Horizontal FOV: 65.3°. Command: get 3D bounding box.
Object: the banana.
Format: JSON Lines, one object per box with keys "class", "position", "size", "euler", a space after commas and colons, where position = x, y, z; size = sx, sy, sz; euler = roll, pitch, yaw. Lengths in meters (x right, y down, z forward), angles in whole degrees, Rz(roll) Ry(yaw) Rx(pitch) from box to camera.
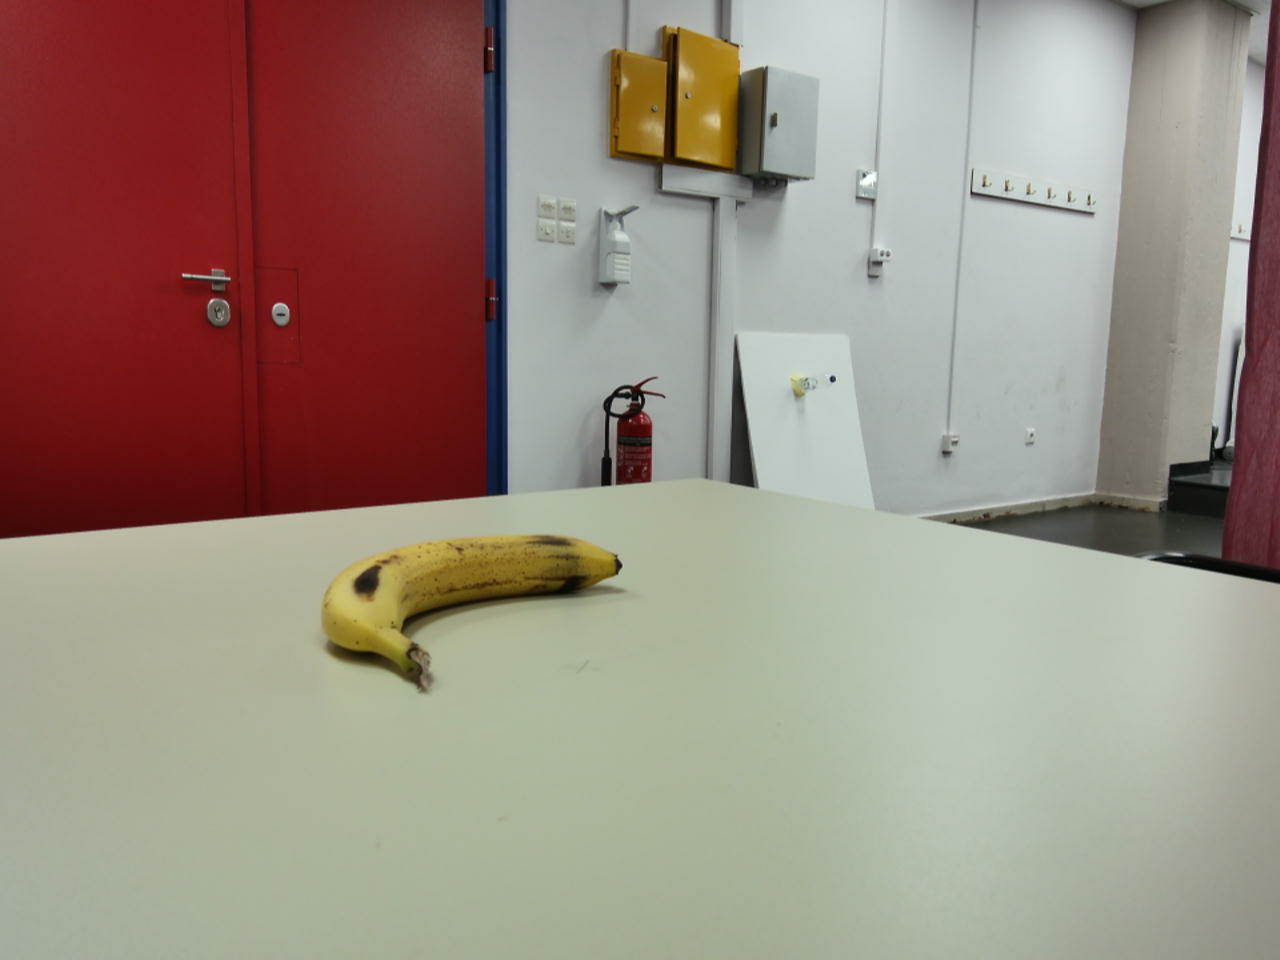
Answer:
{"class": "banana", "position": [-0.091, 0.055, 0.512], "size": [0.097, 0.038, 0.186], "euler": [3, 7, 25]}
